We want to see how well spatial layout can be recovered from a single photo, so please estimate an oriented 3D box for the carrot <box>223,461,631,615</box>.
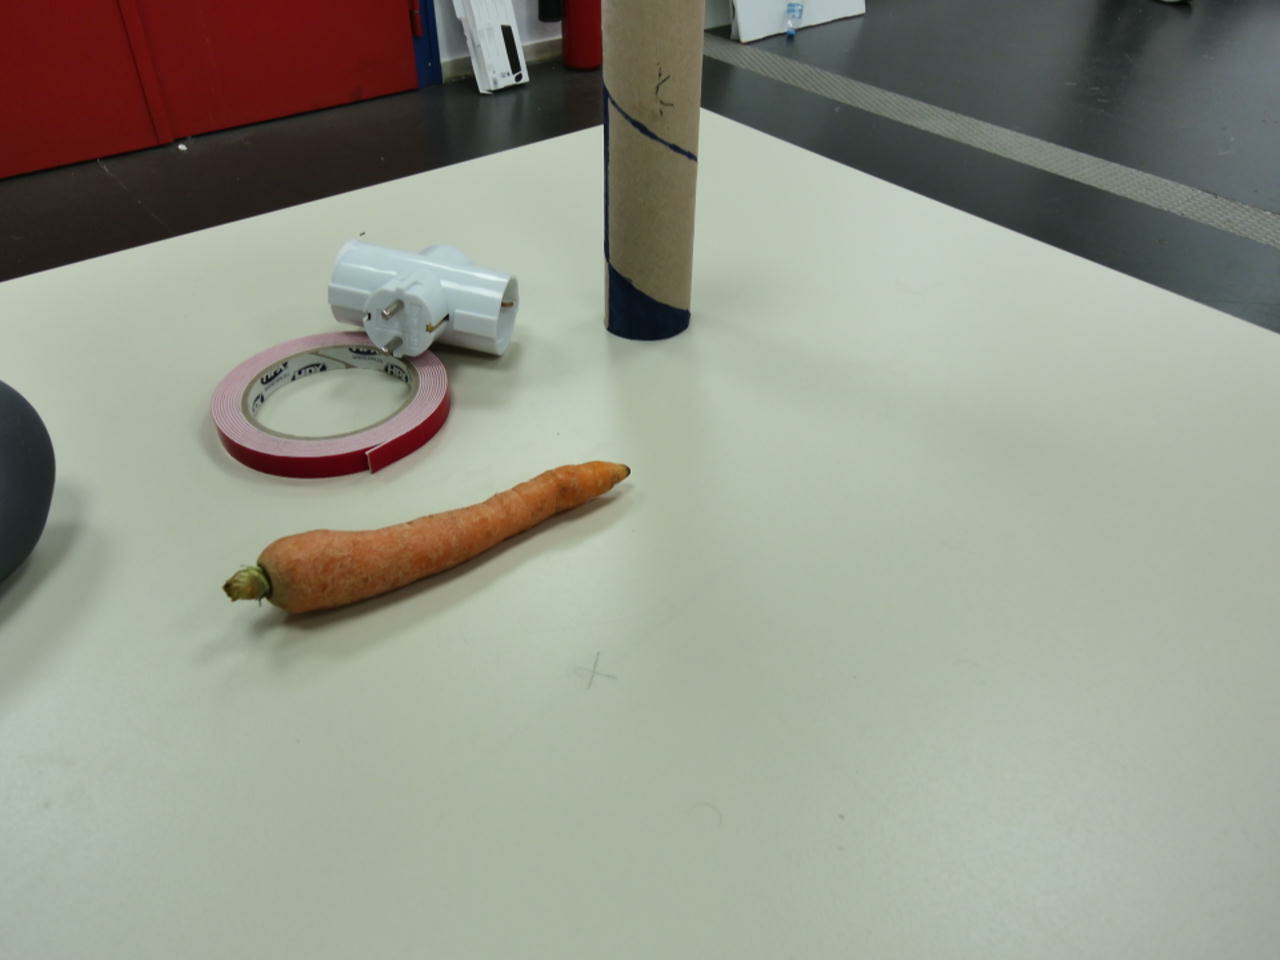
[{"bbox_3d":[-0.076,0.018,0.400,0.173,0.032,0.030,-19,41,-25],"label":"carrot"}]
